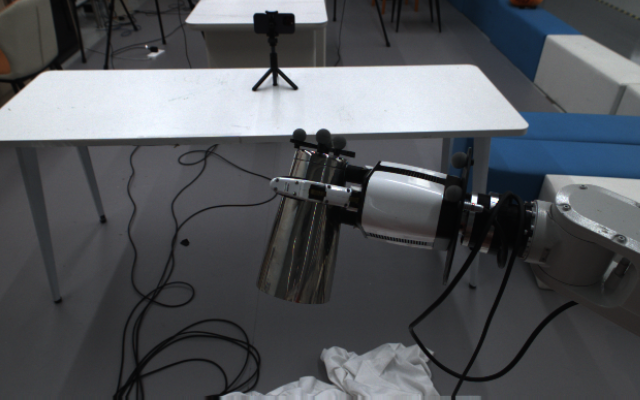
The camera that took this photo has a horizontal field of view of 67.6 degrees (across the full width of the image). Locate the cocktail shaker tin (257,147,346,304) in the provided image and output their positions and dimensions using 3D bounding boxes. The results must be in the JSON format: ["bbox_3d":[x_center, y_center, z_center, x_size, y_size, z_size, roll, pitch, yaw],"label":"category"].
[{"bbox_3d":[-0.013,0.027,0.589,0.093,0.170,0.093,13,3,-1],"label":"cocktail shaker tin"}]
